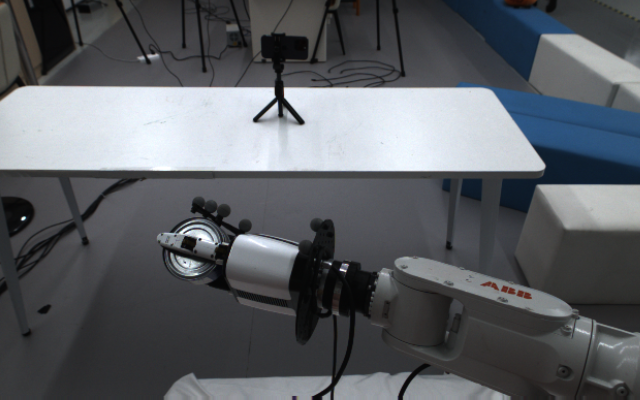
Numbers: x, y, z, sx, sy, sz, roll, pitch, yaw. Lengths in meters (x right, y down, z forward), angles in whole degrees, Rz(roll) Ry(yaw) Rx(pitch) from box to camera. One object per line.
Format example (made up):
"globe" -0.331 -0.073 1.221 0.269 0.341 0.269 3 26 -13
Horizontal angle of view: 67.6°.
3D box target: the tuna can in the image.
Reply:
"tuna can" -0.160 0.068 0.641 0.085 0.034 0.085 -4 67 10
